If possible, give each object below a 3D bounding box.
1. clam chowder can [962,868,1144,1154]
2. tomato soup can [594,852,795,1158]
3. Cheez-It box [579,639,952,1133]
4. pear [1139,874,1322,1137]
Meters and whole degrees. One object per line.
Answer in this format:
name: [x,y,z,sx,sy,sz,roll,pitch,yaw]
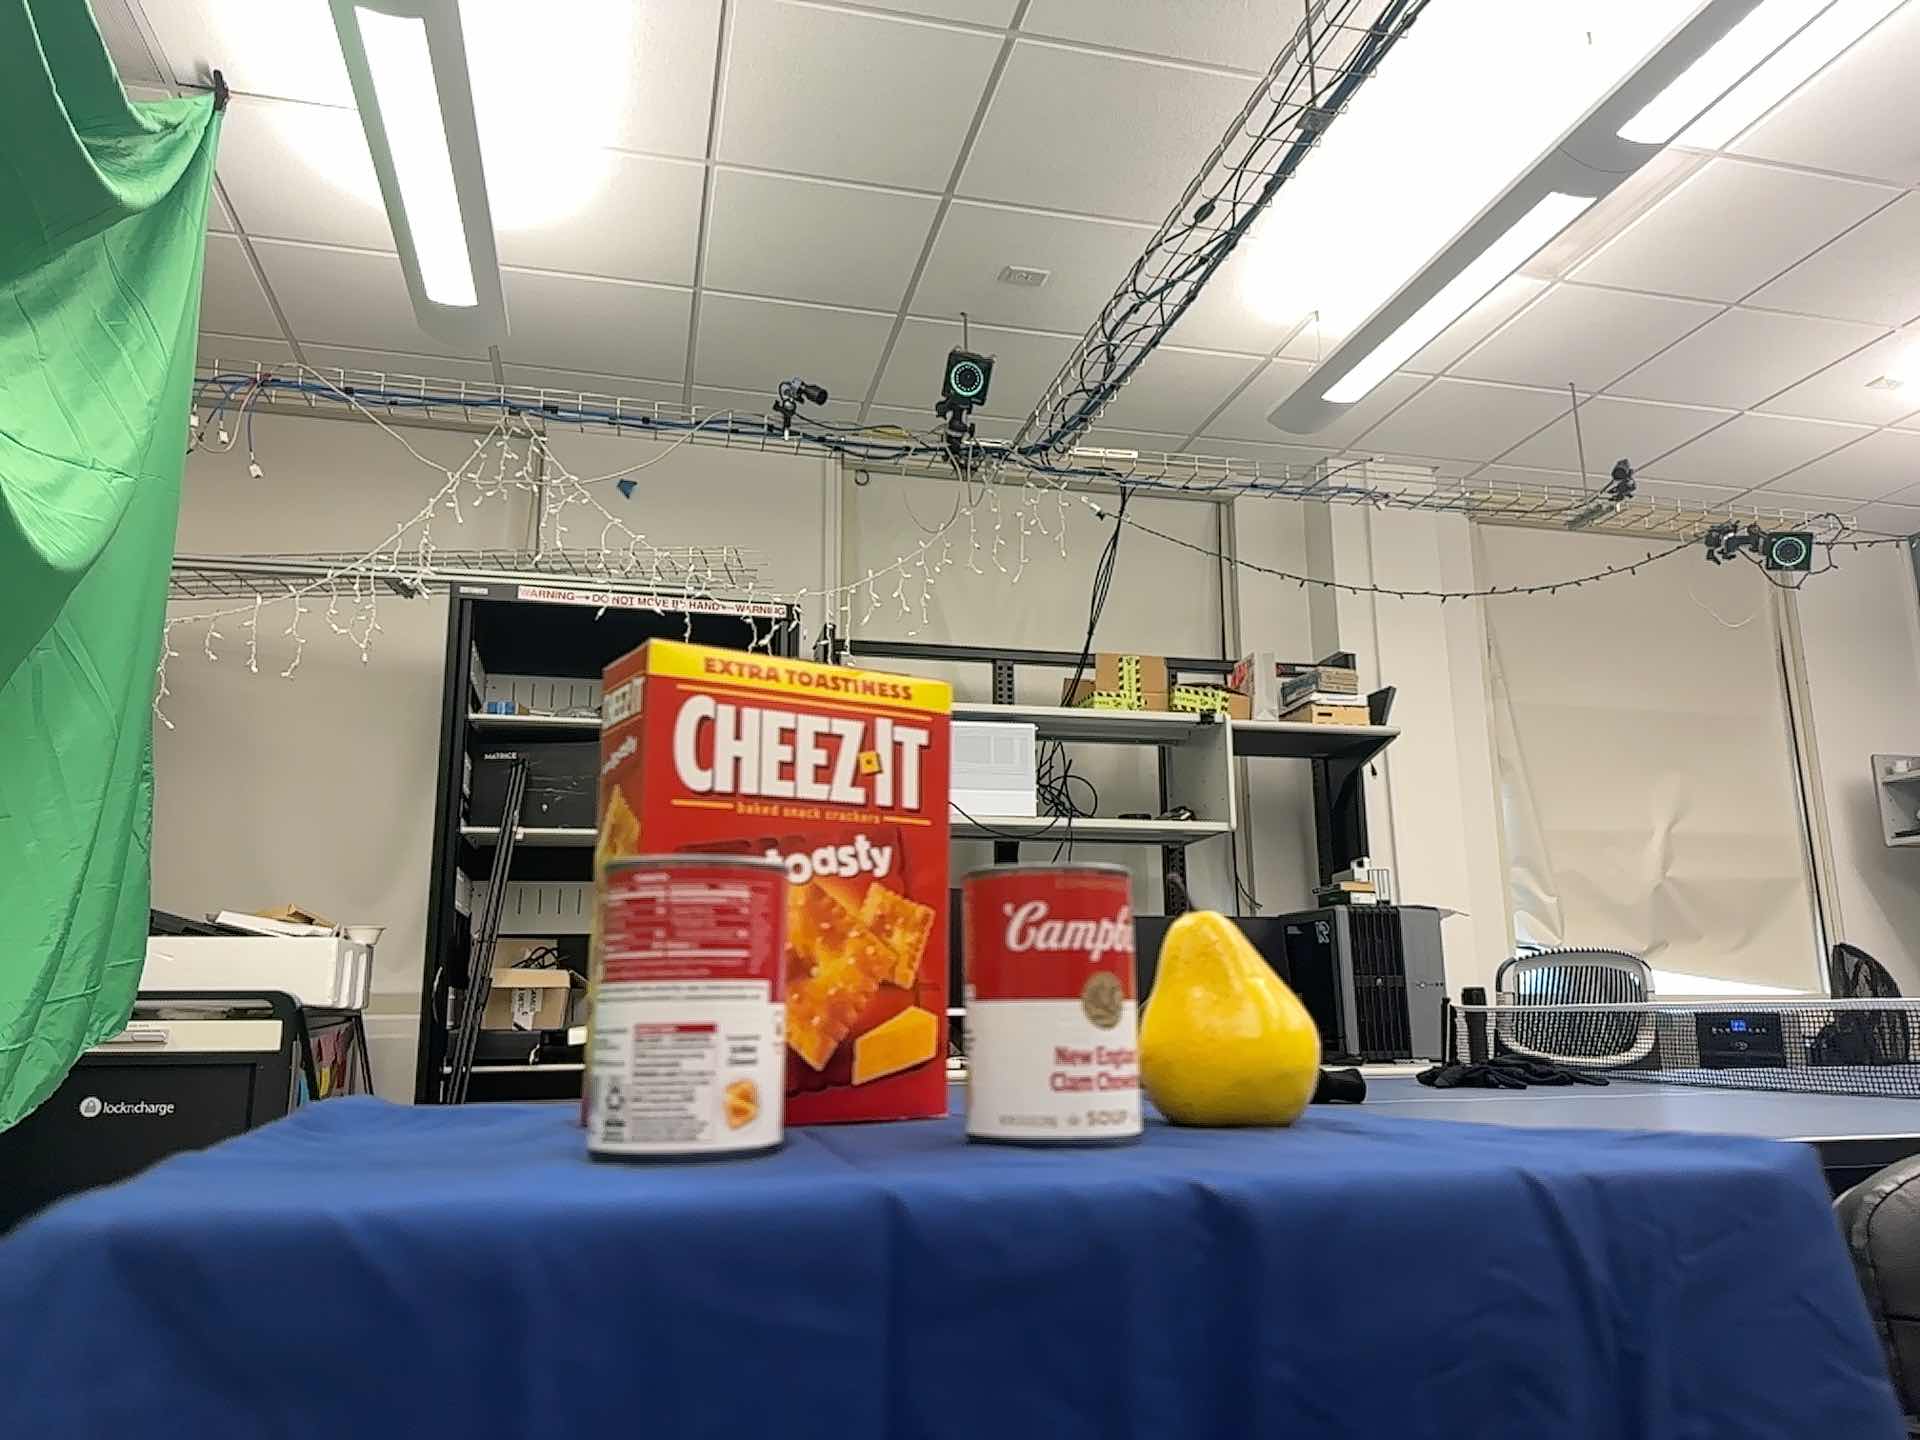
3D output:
clam chowder can: [0.035,0.111,0.519,0.068,0.102,0.068,0,-12,0]
tomato soup can: [-0.094,0.101,0.481,0.067,0.102,0.067,-1,-13,0]
Cheez-It box: [-0.089,0.082,0.647,0.159,0.214,0.062,7,-13,-31]
pear: [0.118,0.125,0.594,0.080,0.111,0.080,2,-12,0]
